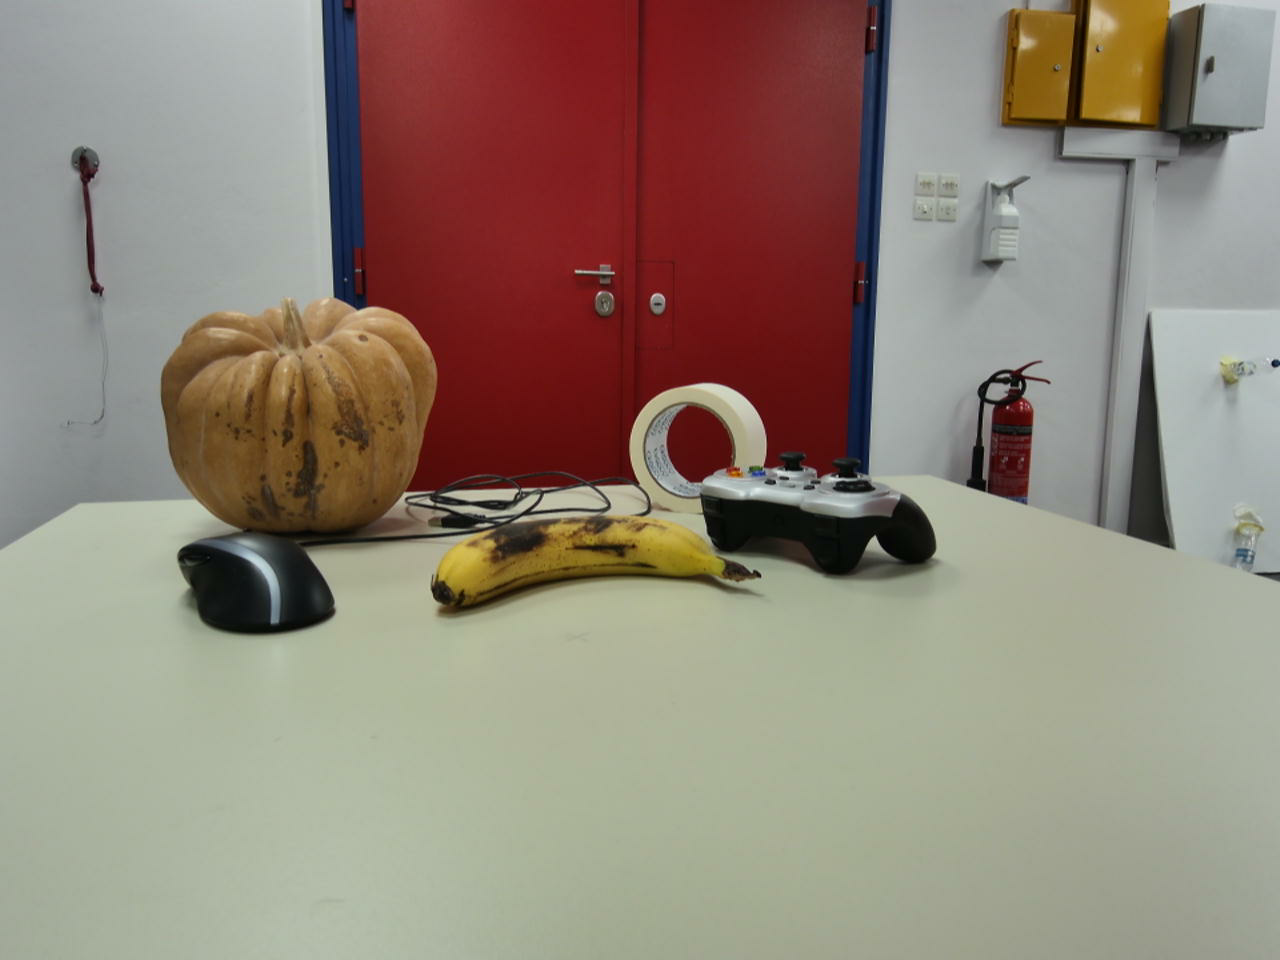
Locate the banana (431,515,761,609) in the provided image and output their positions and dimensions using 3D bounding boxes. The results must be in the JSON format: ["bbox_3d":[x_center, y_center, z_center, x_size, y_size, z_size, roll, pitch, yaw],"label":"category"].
[{"bbox_3d":[-0.032,0.046,0.601,0.187,0.039,0.094,-2,8,-15],"label":"banana"}]
